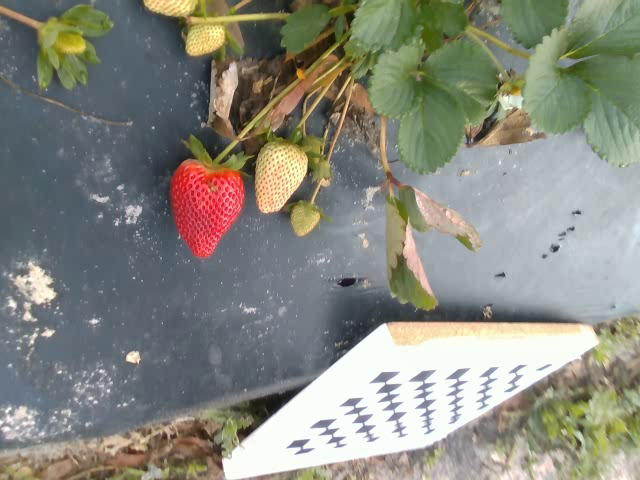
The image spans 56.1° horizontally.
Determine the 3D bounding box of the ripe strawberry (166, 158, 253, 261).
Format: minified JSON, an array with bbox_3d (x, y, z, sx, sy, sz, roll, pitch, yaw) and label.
[{"bbox_3d":[-0.063,-0.018,0.335,0.050,0.059,0.033,1,5,-27],"label":"ripe strawberry"}]
